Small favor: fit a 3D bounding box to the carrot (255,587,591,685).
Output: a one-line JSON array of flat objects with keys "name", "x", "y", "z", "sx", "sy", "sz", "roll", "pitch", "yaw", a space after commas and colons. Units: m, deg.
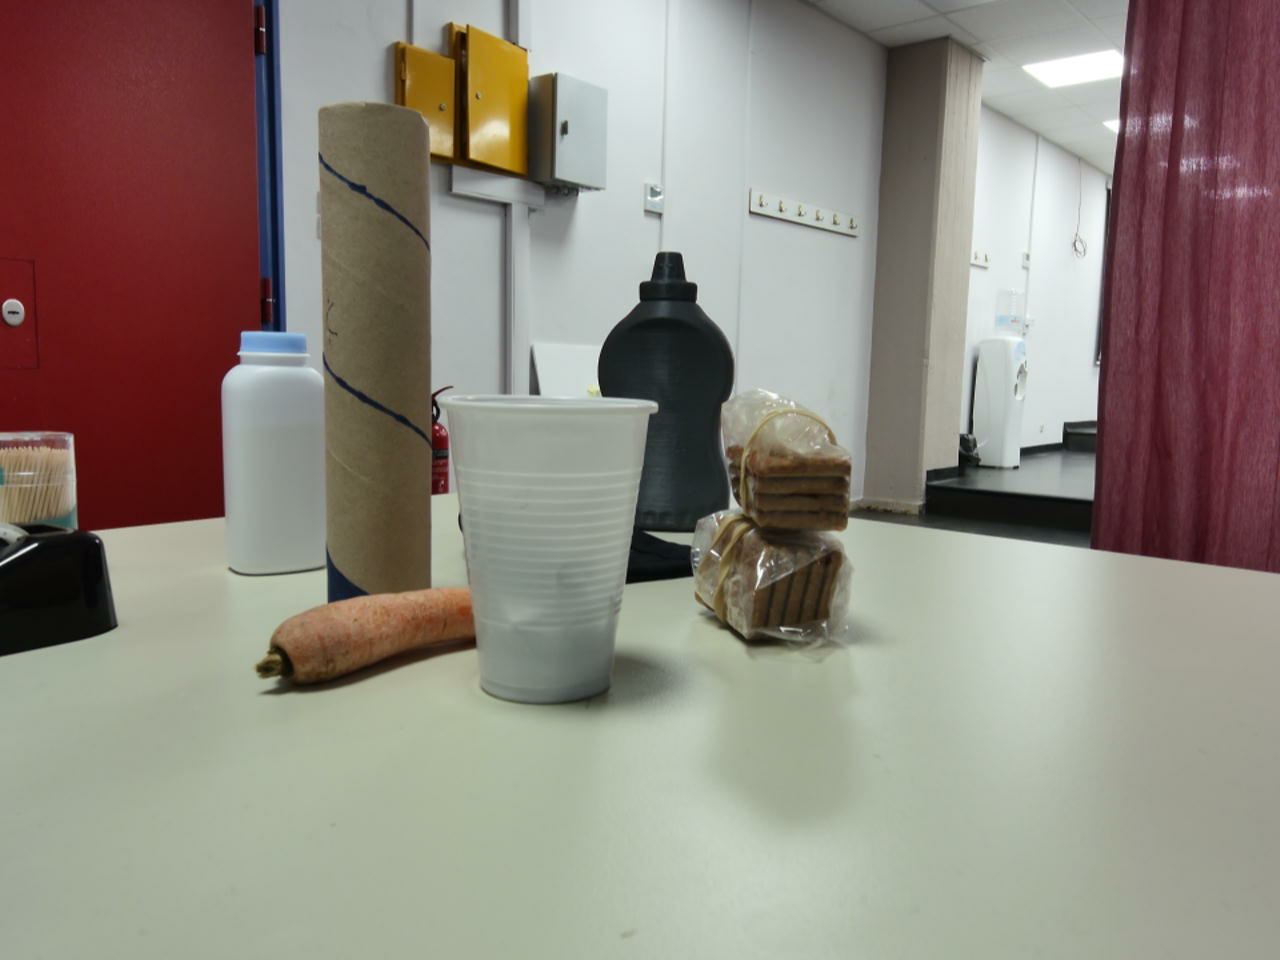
[{"name": "carrot", "x": -0.084, "y": 0.058, "z": 0.420, "sx": 0.031, "sy": 0.029, "sz": 0.163, "roll": 3, "pitch": 6, "yaw": 40}]
